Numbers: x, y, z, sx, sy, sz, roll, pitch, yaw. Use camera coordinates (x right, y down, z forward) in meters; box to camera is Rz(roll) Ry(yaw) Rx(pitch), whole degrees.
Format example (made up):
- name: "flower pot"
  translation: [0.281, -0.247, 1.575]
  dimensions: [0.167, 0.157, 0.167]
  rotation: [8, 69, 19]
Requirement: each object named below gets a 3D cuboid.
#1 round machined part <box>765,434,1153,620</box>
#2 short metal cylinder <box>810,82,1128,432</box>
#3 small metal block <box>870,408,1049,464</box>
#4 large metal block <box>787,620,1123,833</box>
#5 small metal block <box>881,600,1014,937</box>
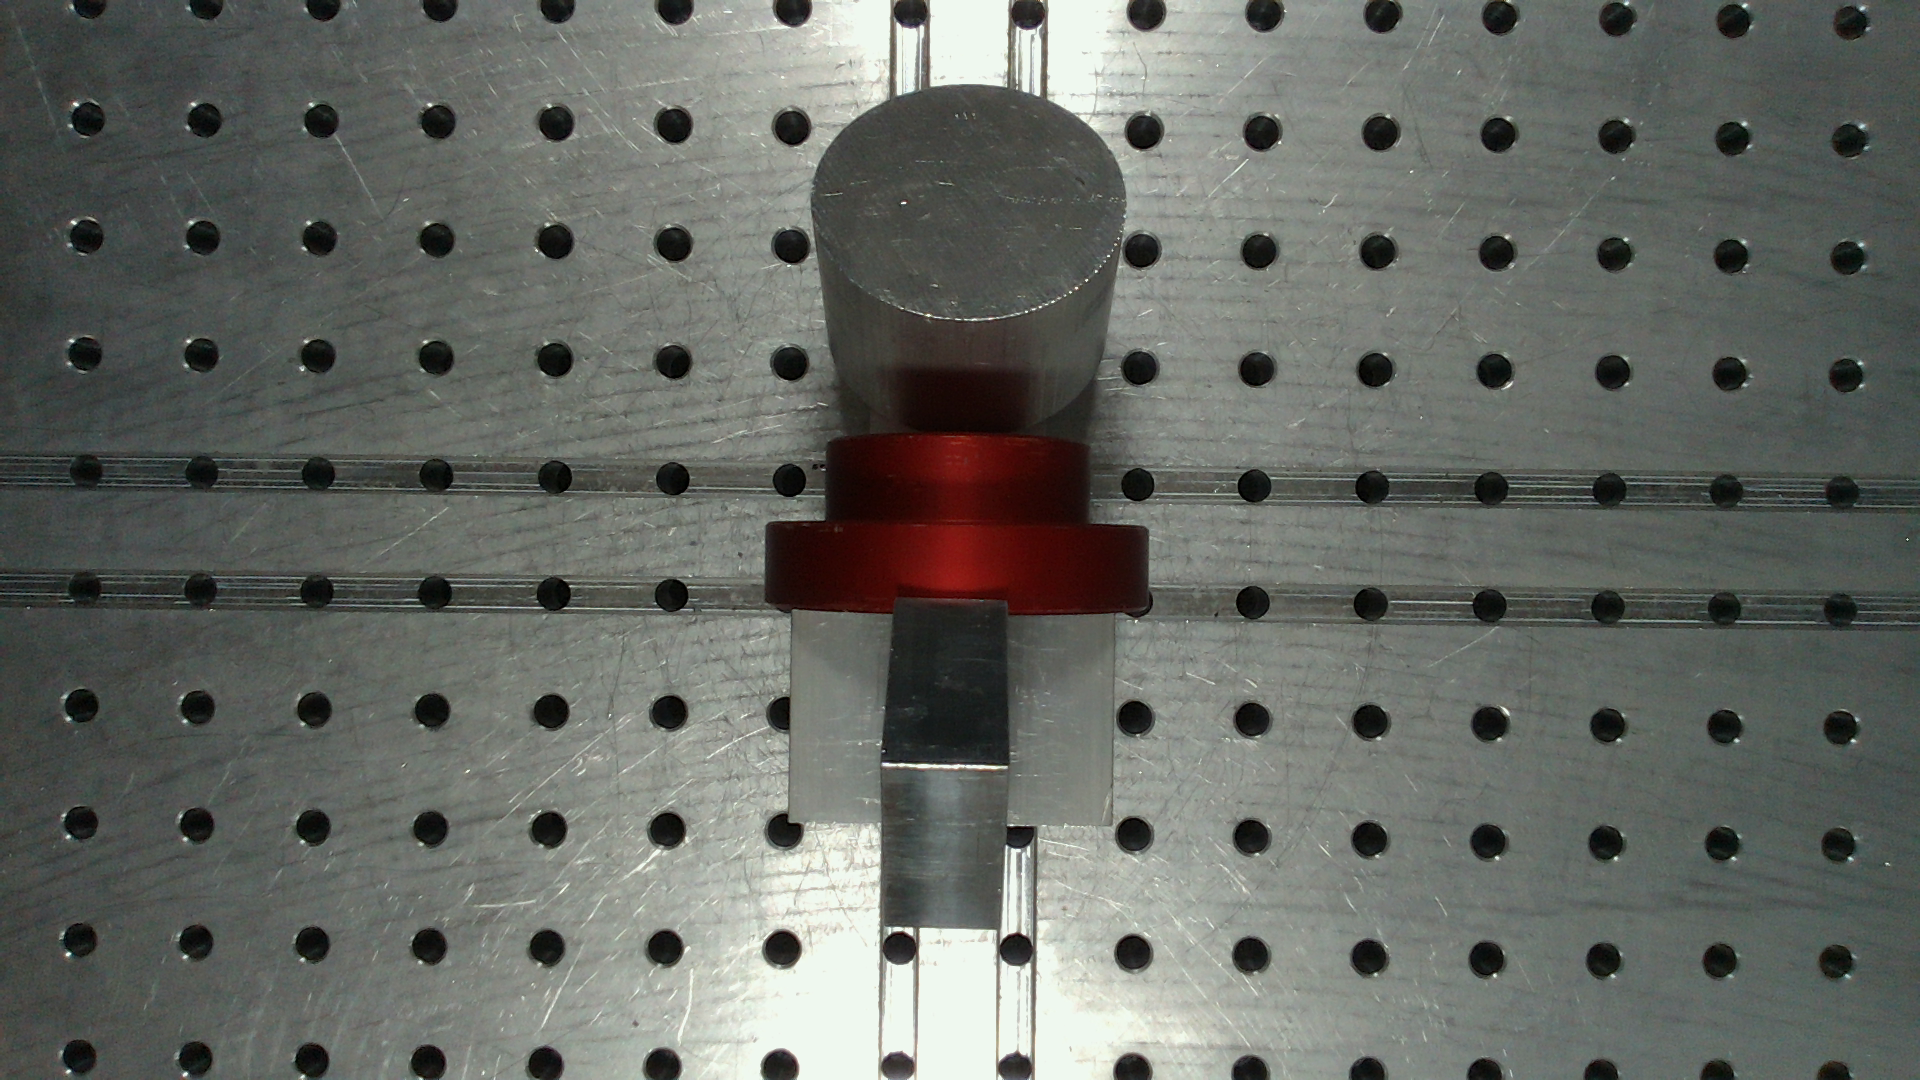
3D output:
- name: "round machined part"
  translation: [0.000, -0.004, 0.351]
  dimensions: [0.098, 0.098, 0.042]
  rotation: [1, 90, 0]
- name: "short metal cylinder"
  translation: [0.002, -0.075, 0.368]
  dimensions: [0.080, 0.050, 0.080]
  rotation: [0, 60, 0]
- name: "small metal block"
  translation: [0.000, -0.029, 0.397]
  dimensions: [0.050, 0.025, 0.050]
  rotation: [1, 90, 0]
- name: "large metal block"
  translation: [-0.001, 0.045, 0.369]
  dimensions: [0.080, 0.080, 0.050]
  rotation: [1, 90, 0]
- name: "small metal block"
  translation: [-0.003, 0.048, 0.295]
  dimensions: [0.025, 0.050, 0.050]
  rotation: [1, 128, 0]
